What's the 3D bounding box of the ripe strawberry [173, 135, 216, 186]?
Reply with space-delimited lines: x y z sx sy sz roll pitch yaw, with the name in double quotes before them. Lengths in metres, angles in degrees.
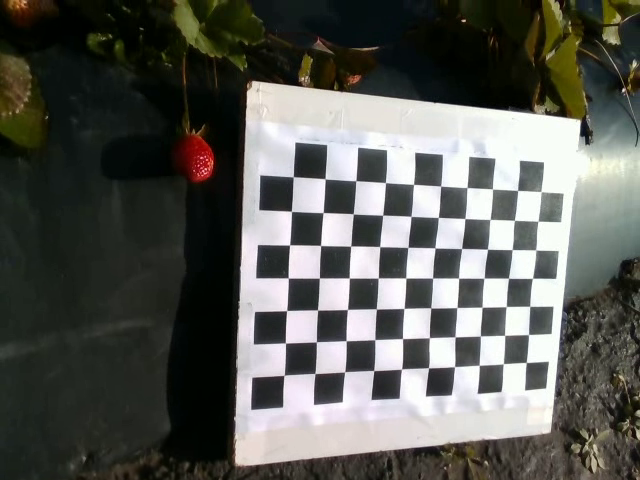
"ripe strawberry" -0.073 -0.044 0.372 0.034 0.033 0.038 0 44 -22
